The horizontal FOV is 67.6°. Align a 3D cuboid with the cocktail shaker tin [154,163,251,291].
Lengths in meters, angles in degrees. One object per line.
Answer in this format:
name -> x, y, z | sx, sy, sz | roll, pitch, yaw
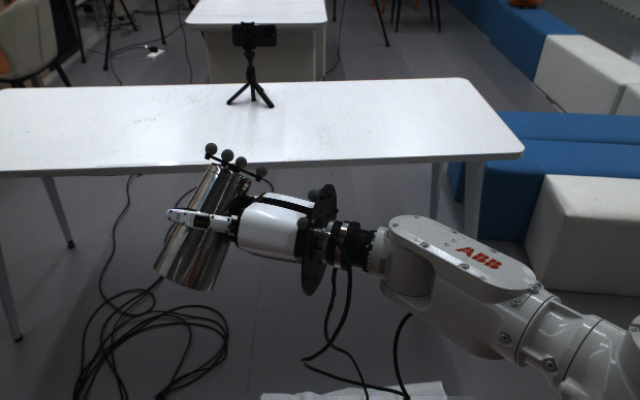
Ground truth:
cocktail shaker tin -> -0.163, 0.035, 0.707 | 0.093, 0.170, 0.093 | 23, 0, 0
